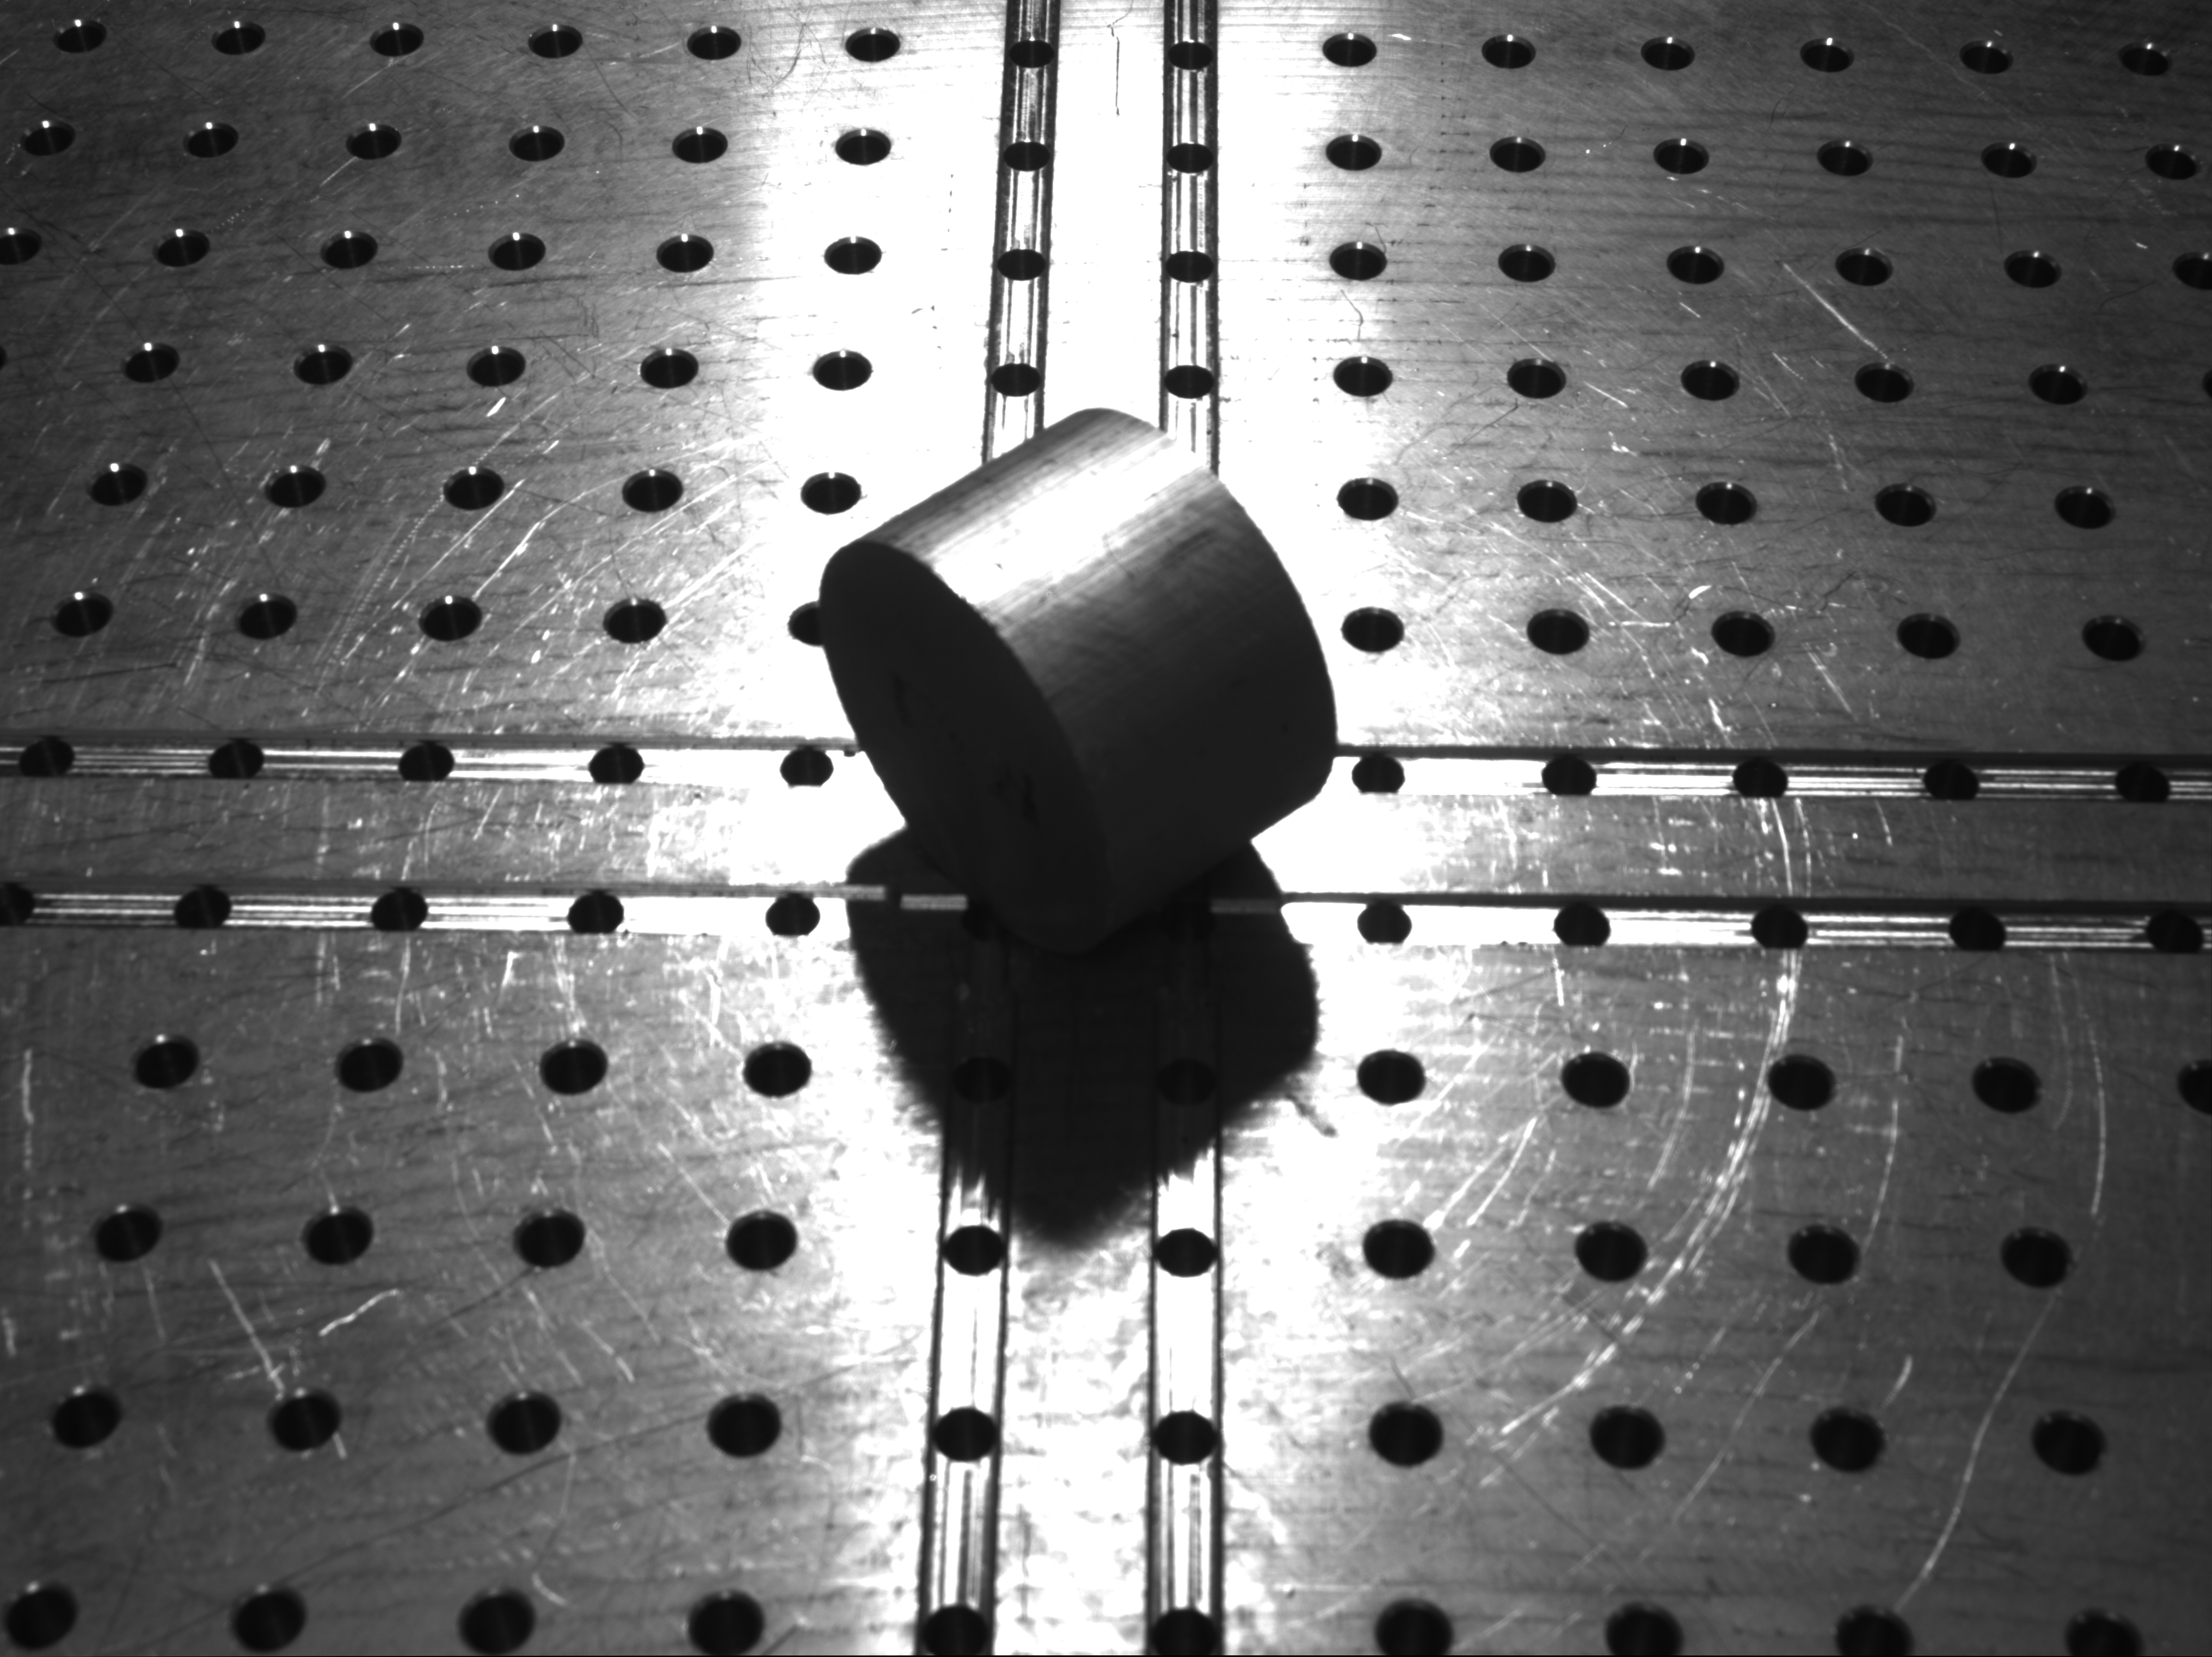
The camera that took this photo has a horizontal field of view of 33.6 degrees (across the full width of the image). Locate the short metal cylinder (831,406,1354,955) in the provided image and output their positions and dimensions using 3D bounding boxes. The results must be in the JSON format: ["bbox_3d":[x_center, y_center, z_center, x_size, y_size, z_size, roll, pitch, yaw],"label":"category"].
[{"bbox_3d":[-0.003,-0.025,0.630,0.050,0.080,0.080,-33,57,-24],"label":"short metal cylinder"}]
